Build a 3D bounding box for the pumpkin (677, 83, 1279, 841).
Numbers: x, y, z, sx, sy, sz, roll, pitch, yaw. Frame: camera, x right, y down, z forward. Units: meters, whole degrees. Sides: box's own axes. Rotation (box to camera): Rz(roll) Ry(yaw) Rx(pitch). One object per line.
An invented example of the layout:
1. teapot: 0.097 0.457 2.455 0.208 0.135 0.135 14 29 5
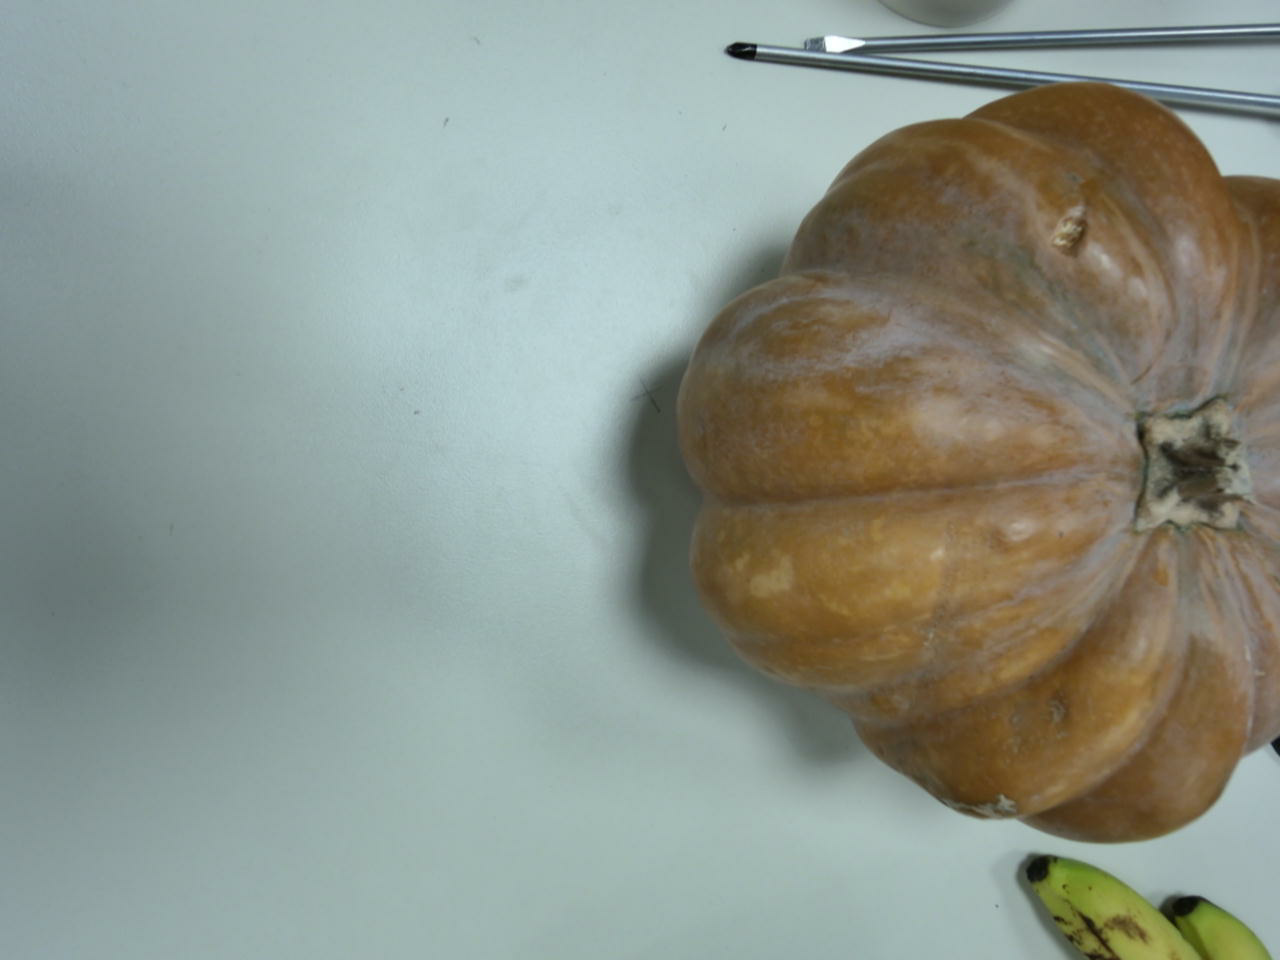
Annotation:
1. pumpkin: 0.149 -0.007 0.375 0.277 0.181 0.277 0 91 -12
